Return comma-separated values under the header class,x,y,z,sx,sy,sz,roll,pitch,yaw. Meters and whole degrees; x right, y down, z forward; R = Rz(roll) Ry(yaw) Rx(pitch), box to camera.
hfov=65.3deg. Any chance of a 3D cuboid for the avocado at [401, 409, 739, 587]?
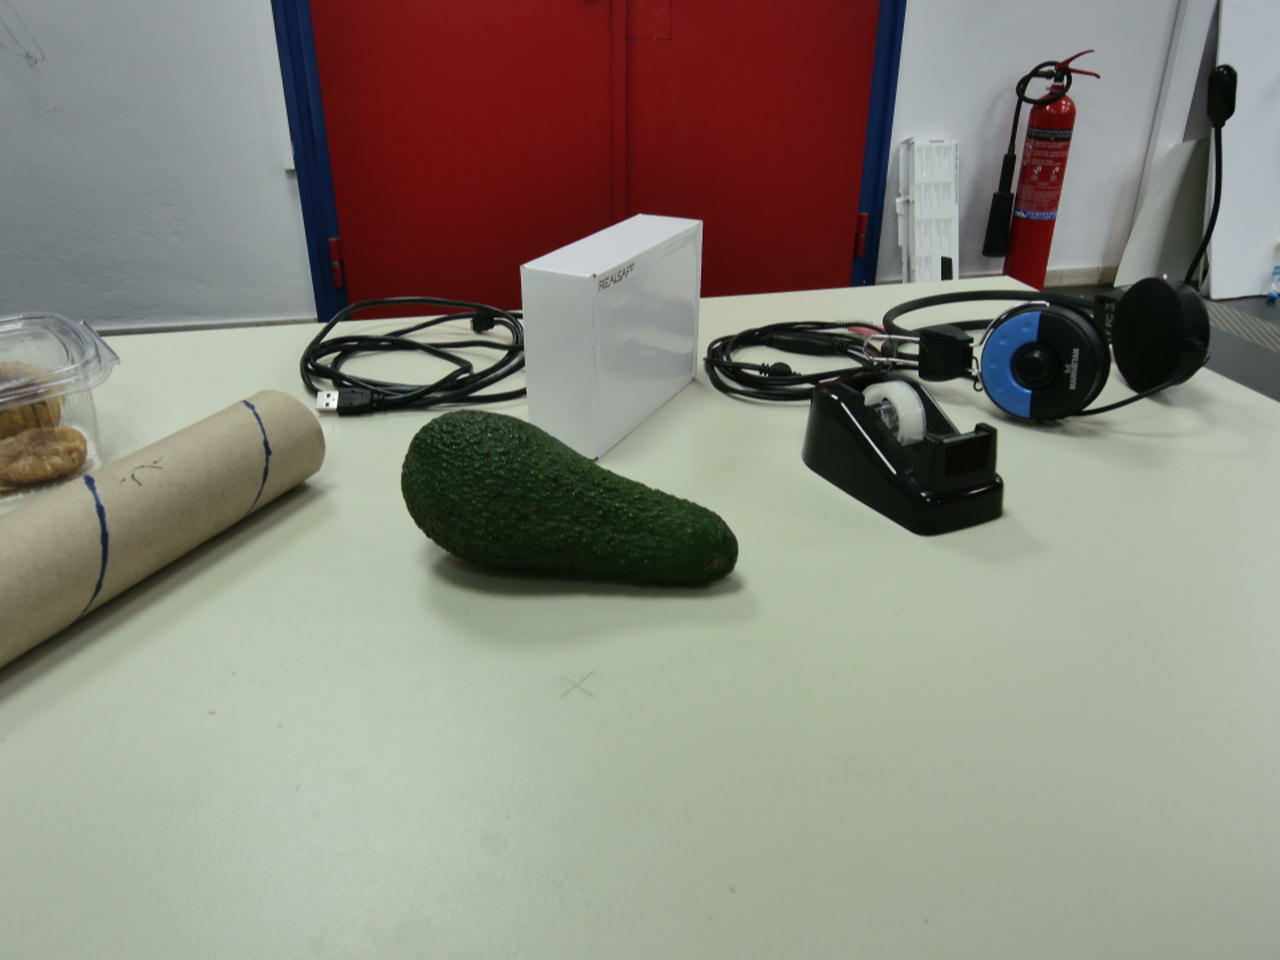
class,x,y,z,sx,sy,sz,roll,pitch,yaw
avocado,-0.029,0.004,0.414,0.141,0.067,0.063,1,24,2
